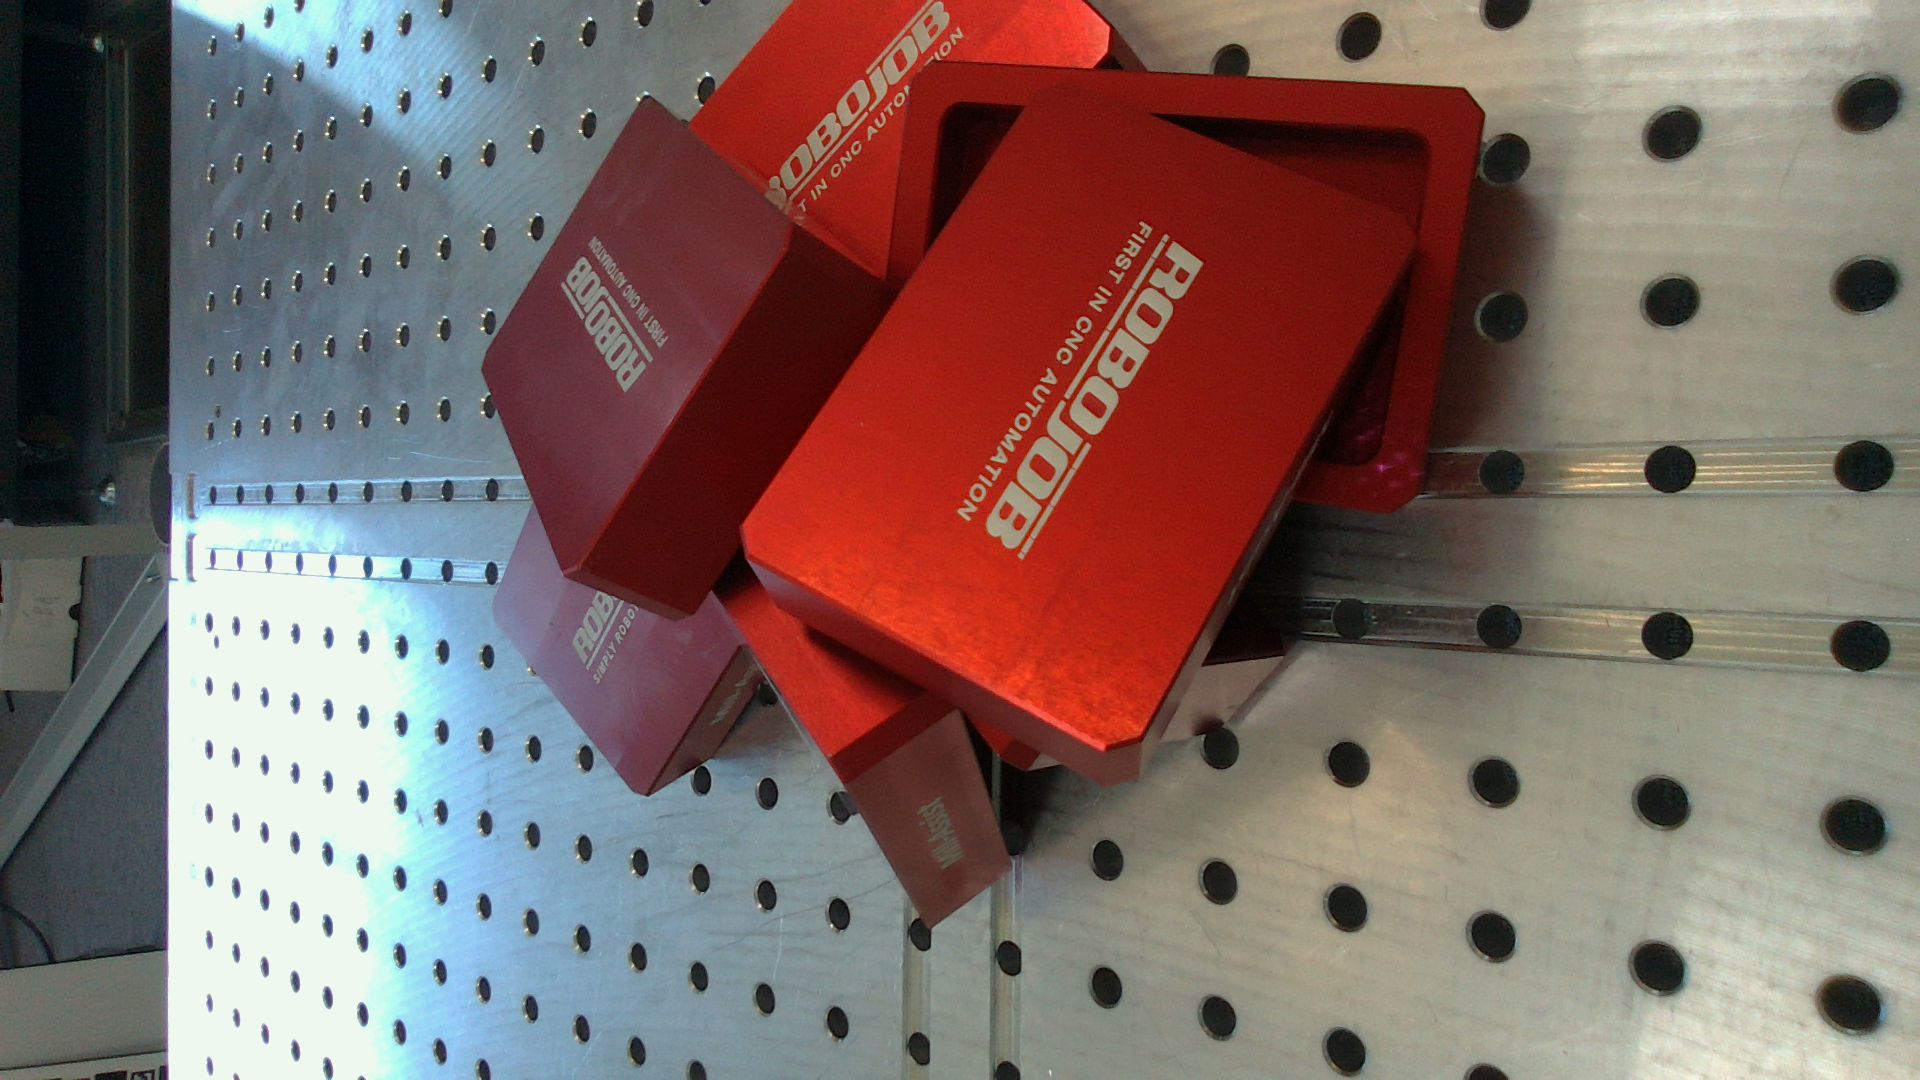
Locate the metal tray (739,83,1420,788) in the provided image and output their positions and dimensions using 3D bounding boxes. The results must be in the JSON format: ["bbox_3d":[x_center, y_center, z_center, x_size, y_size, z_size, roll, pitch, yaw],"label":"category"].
[{"bbox_3d":[0.027,-0.026,0.289,0.090,0.030,0.130,27,72,15],"label":"metal tray"}]

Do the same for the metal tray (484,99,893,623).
[{"bbox_3d":[-0.074,-0.050,0.342,0.090,0.030,0.130,-55,37,10],"label":"metal tray"}]

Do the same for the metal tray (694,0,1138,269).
[{"bbox_3d":[-0.023,-0.112,0.389,0.130,0.030,0.090,-44,65,15],"label":"metal tray"}]

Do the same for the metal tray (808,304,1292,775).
[{"bbox_3d":[0.013,-0.006,0.345,0.130,0.090,0.030,53,121,28],"label":"metal tray"}]

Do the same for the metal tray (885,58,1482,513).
[{"bbox_3d":[0.048,-0.061,0.325,0.130,0.030,0.090,10,97,19],"label":"metal tray"}]

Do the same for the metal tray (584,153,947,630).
[{"bbox_3d":[-0.069,-0.046,0.452,0.090,0.030,0.130,46,117,30],"label":"metal tray"}]

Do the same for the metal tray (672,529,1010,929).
[{"bbox_3d":[-0.030,0.043,0.363,0.030,0.130,0.090,-34,62,-11],"label":"metal tray"}]

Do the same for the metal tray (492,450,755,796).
[{"bbox_3d":[-0.100,0.013,0.449,0.090,0.030,0.130,47,131,12],"label":"metal tray"}]
